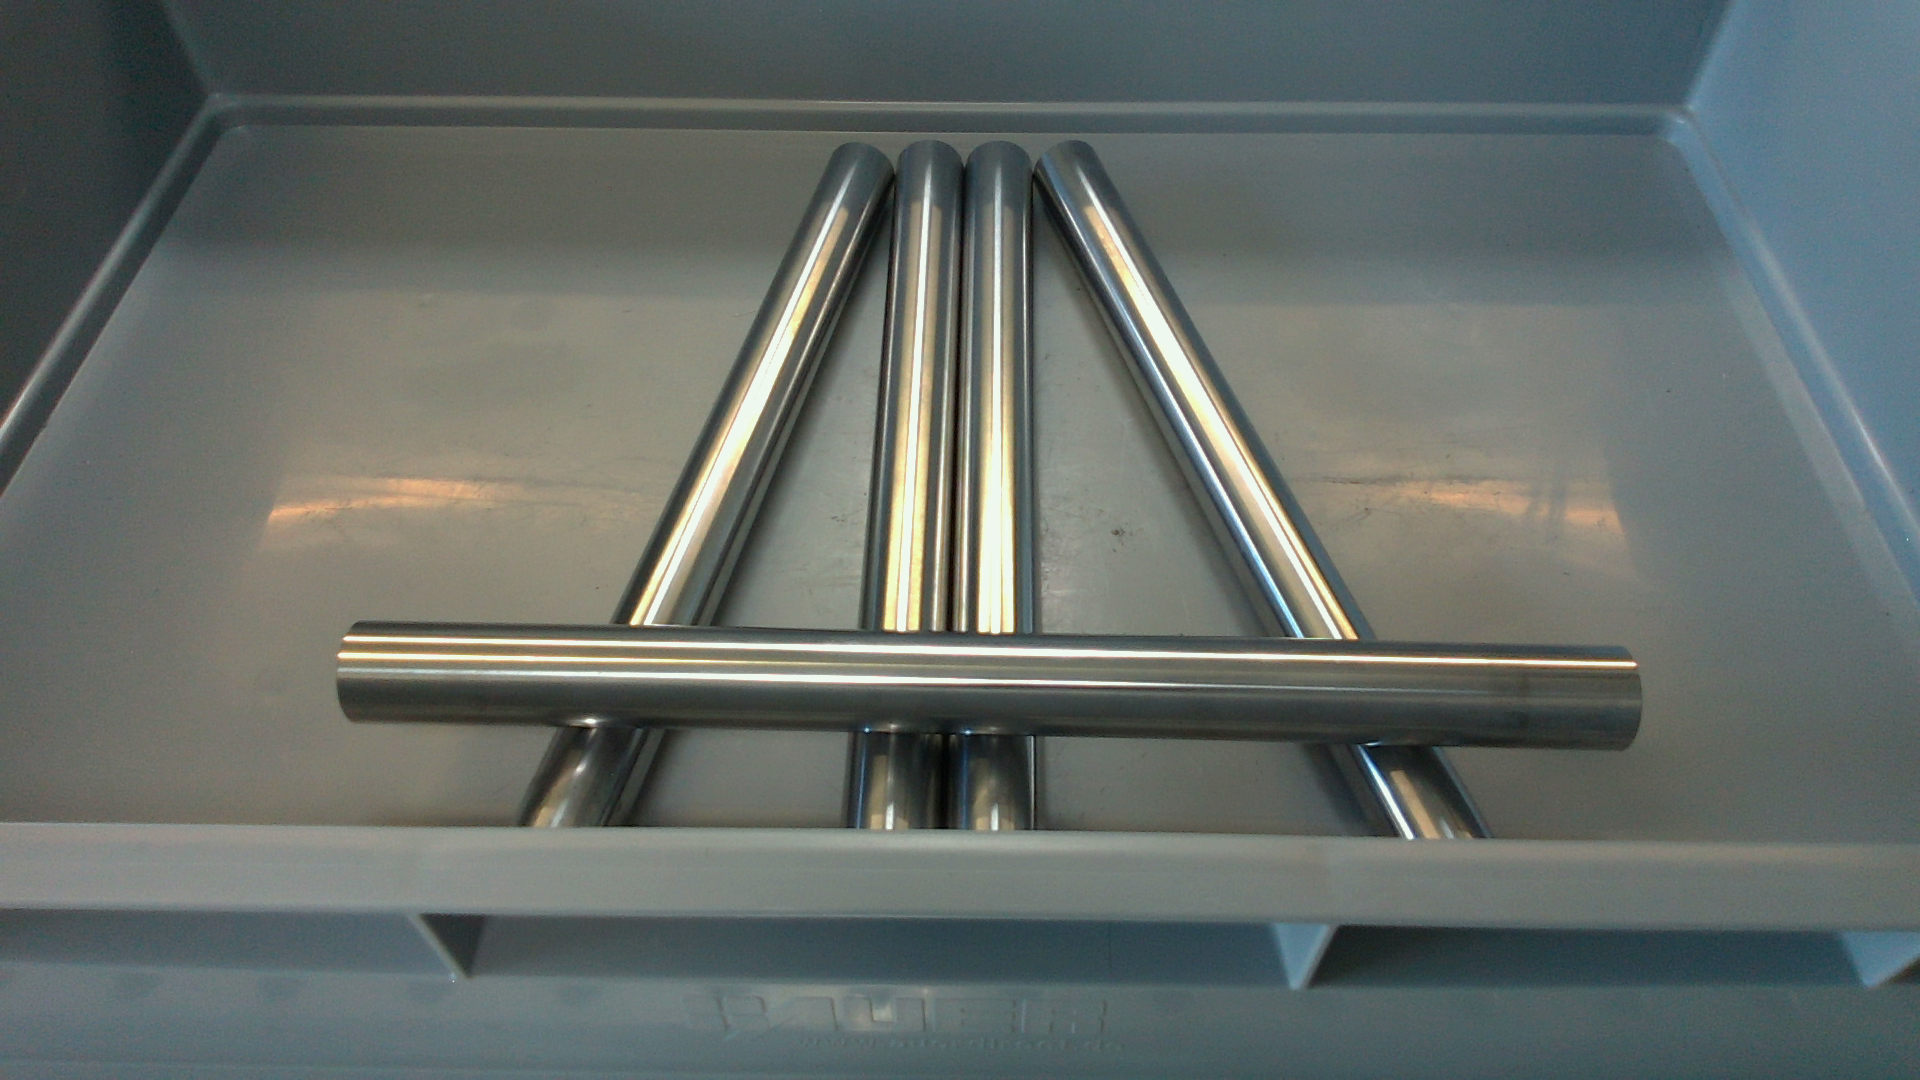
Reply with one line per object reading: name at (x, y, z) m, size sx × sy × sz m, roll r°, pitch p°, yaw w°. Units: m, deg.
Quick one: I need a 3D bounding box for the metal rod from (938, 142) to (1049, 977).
metal rod at (0.010, -0.021, 0.408) m, size 0.025 × 0.025 × 0.300 m, roll 1°, pitch 50°, yaw 1°

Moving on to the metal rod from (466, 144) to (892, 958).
metal rod at (-0.069, -0.022, 0.409) m, size 0.025 × 0.025 × 0.300 m, roll 9°, pitch 50°, yaw 8°

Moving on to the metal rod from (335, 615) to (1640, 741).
metal rod at (0.005, 0.033, 0.329) m, size 0.300 × 0.025 × 0.025 m, roll 1°, pitch 50°, yaw 1°

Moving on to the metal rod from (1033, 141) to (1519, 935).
metal rod at (0.078, -0.025, 0.412) m, size 0.025 × 0.025 × 0.300 m, roll -12°, pitch 51°, yaw -10°

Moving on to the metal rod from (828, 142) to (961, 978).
metal rod at (-0.014, -0.021, 0.408) m, size 0.025 × 0.025 × 0.300 m, roll 1°, pitch 50°, yaw 1°
